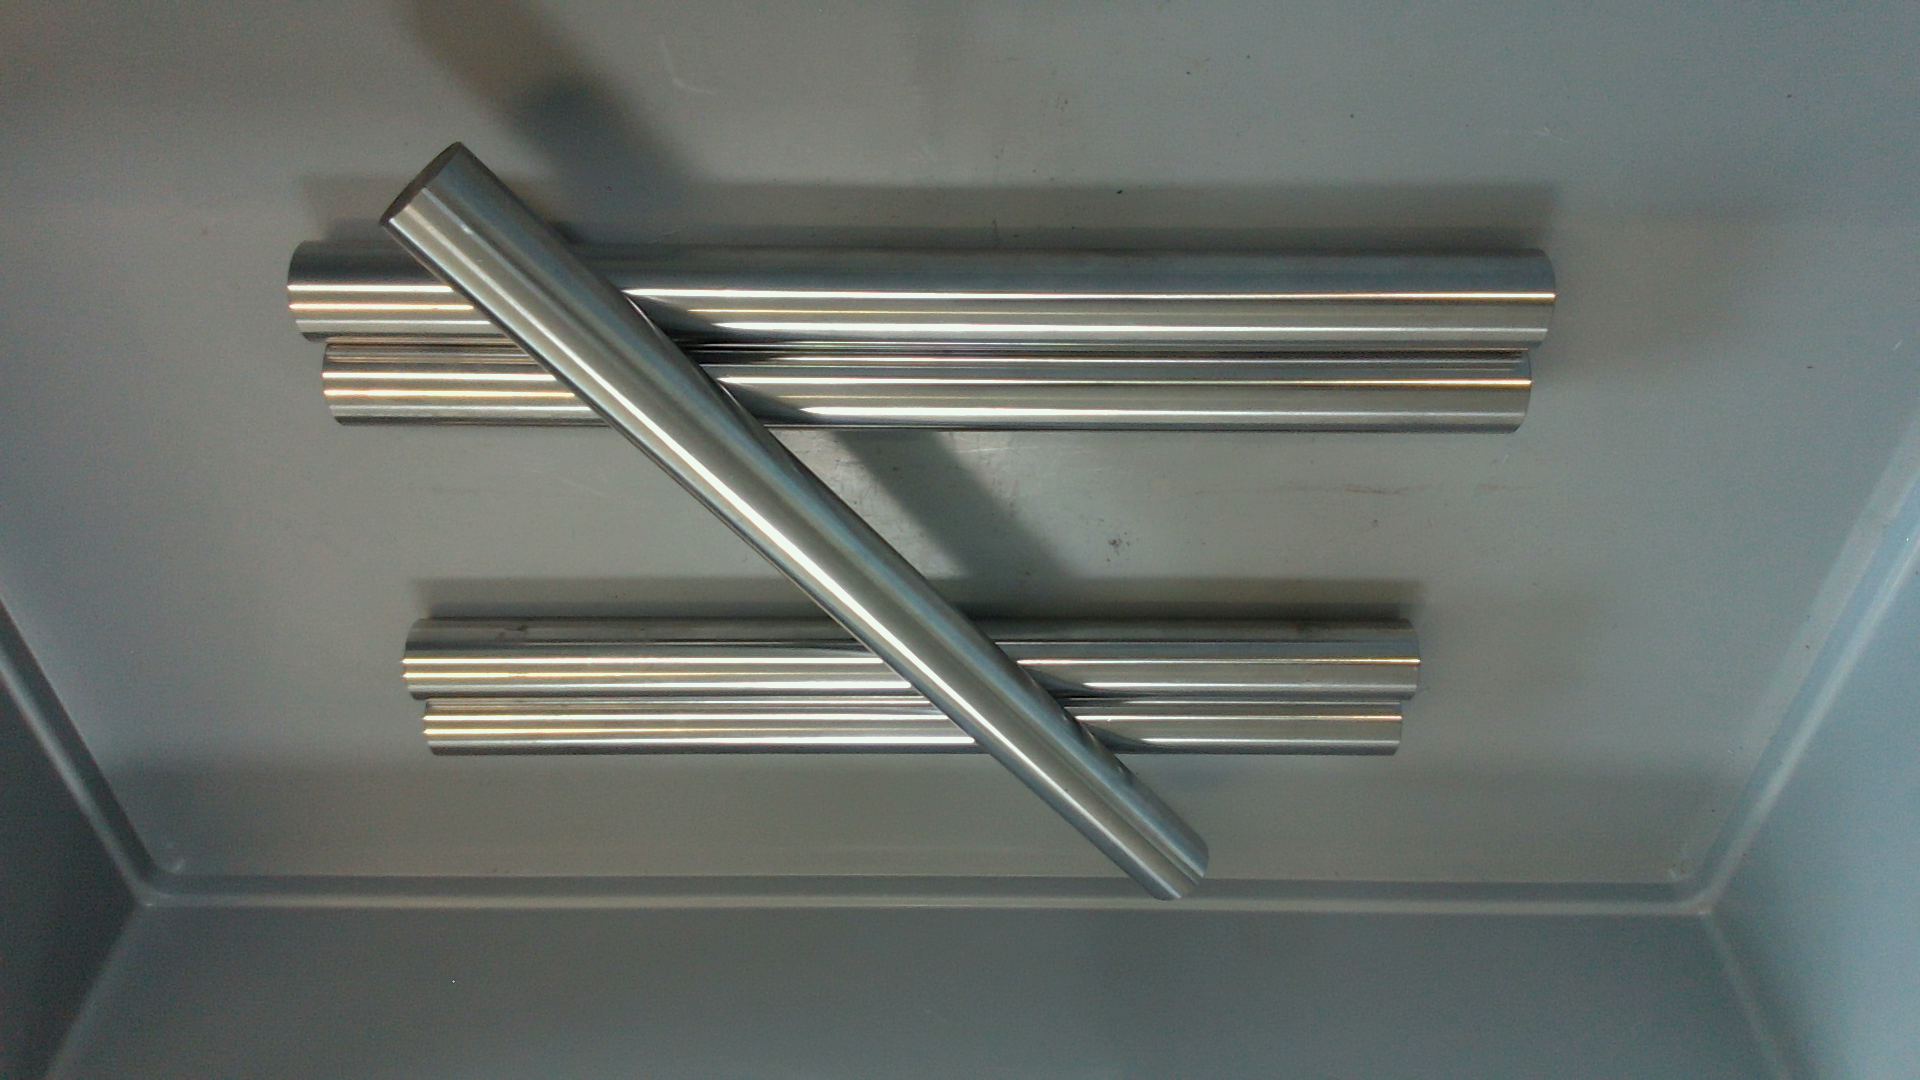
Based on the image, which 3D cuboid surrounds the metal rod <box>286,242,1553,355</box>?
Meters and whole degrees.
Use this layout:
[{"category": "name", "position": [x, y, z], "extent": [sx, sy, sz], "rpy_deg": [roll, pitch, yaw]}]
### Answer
[{"category": "metal rod", "position": [-0.009, -0.059, 0.338], "extent": [0.300, 0.025, 0.025], "rpy_deg": [0, 130, -1]}]

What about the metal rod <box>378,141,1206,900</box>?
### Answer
[{"category": "metal rod", "position": [-0.023, 0.015, 0.369], "extent": [0.025, 0.025, 0.301], "rpy_deg": [-31, 124, 23]}]

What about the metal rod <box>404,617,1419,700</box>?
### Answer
[{"category": "metal rod", "position": [-0.014, 0.036, 0.419], "extent": [0.300, 0.025, 0.025], "rpy_deg": [0, 130, 0]}]

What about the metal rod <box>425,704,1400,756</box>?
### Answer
[{"category": "metal rod", "position": [-0.014, 0.056, 0.435], "extent": [0.300, 0.025, 0.025], "rpy_deg": [0, 130, 0]}]

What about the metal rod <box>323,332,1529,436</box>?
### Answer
[{"category": "metal rod", "position": [-0.008, -0.040, 0.354], "extent": [0.300, 0.025, 0.025], "rpy_deg": [0, 130, -1]}]
